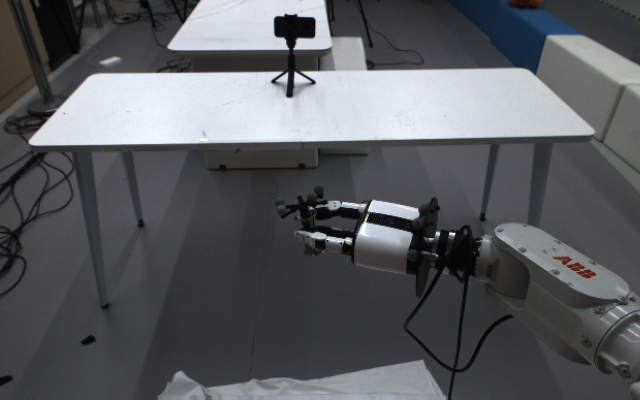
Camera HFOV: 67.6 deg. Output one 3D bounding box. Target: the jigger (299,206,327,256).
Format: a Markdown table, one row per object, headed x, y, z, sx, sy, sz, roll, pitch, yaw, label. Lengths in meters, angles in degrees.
| x | y | z | sx | sy | sz | roll | pitch | yaw | label |
| --- | --- | --- | --- | --- | --- | --- | --- | --- | --- |
| -0.014 | 0.053 | 0.814 | 0.043 | 0.071 | 0.043 | -14 | 22 | 6 | jigger |
